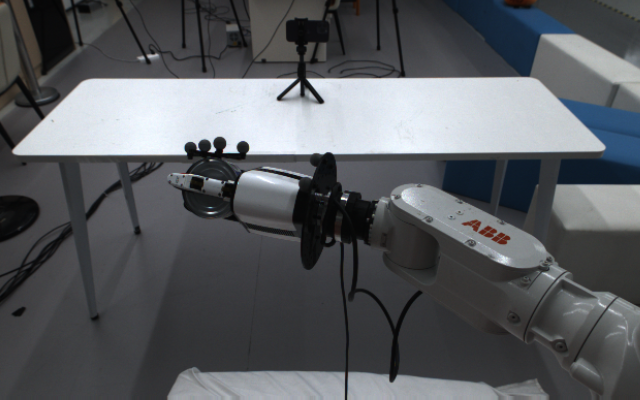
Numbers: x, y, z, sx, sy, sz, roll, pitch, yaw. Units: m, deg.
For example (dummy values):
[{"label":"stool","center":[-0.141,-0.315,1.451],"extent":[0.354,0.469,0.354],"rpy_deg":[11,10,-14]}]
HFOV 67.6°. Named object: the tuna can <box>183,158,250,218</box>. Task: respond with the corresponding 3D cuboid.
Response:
[{"label":"tuna can","center":[-0.147,-0.014,0.682],"extent":[0.085,0.085,0.034],"rpy_deg":[11,-1,13]}]
